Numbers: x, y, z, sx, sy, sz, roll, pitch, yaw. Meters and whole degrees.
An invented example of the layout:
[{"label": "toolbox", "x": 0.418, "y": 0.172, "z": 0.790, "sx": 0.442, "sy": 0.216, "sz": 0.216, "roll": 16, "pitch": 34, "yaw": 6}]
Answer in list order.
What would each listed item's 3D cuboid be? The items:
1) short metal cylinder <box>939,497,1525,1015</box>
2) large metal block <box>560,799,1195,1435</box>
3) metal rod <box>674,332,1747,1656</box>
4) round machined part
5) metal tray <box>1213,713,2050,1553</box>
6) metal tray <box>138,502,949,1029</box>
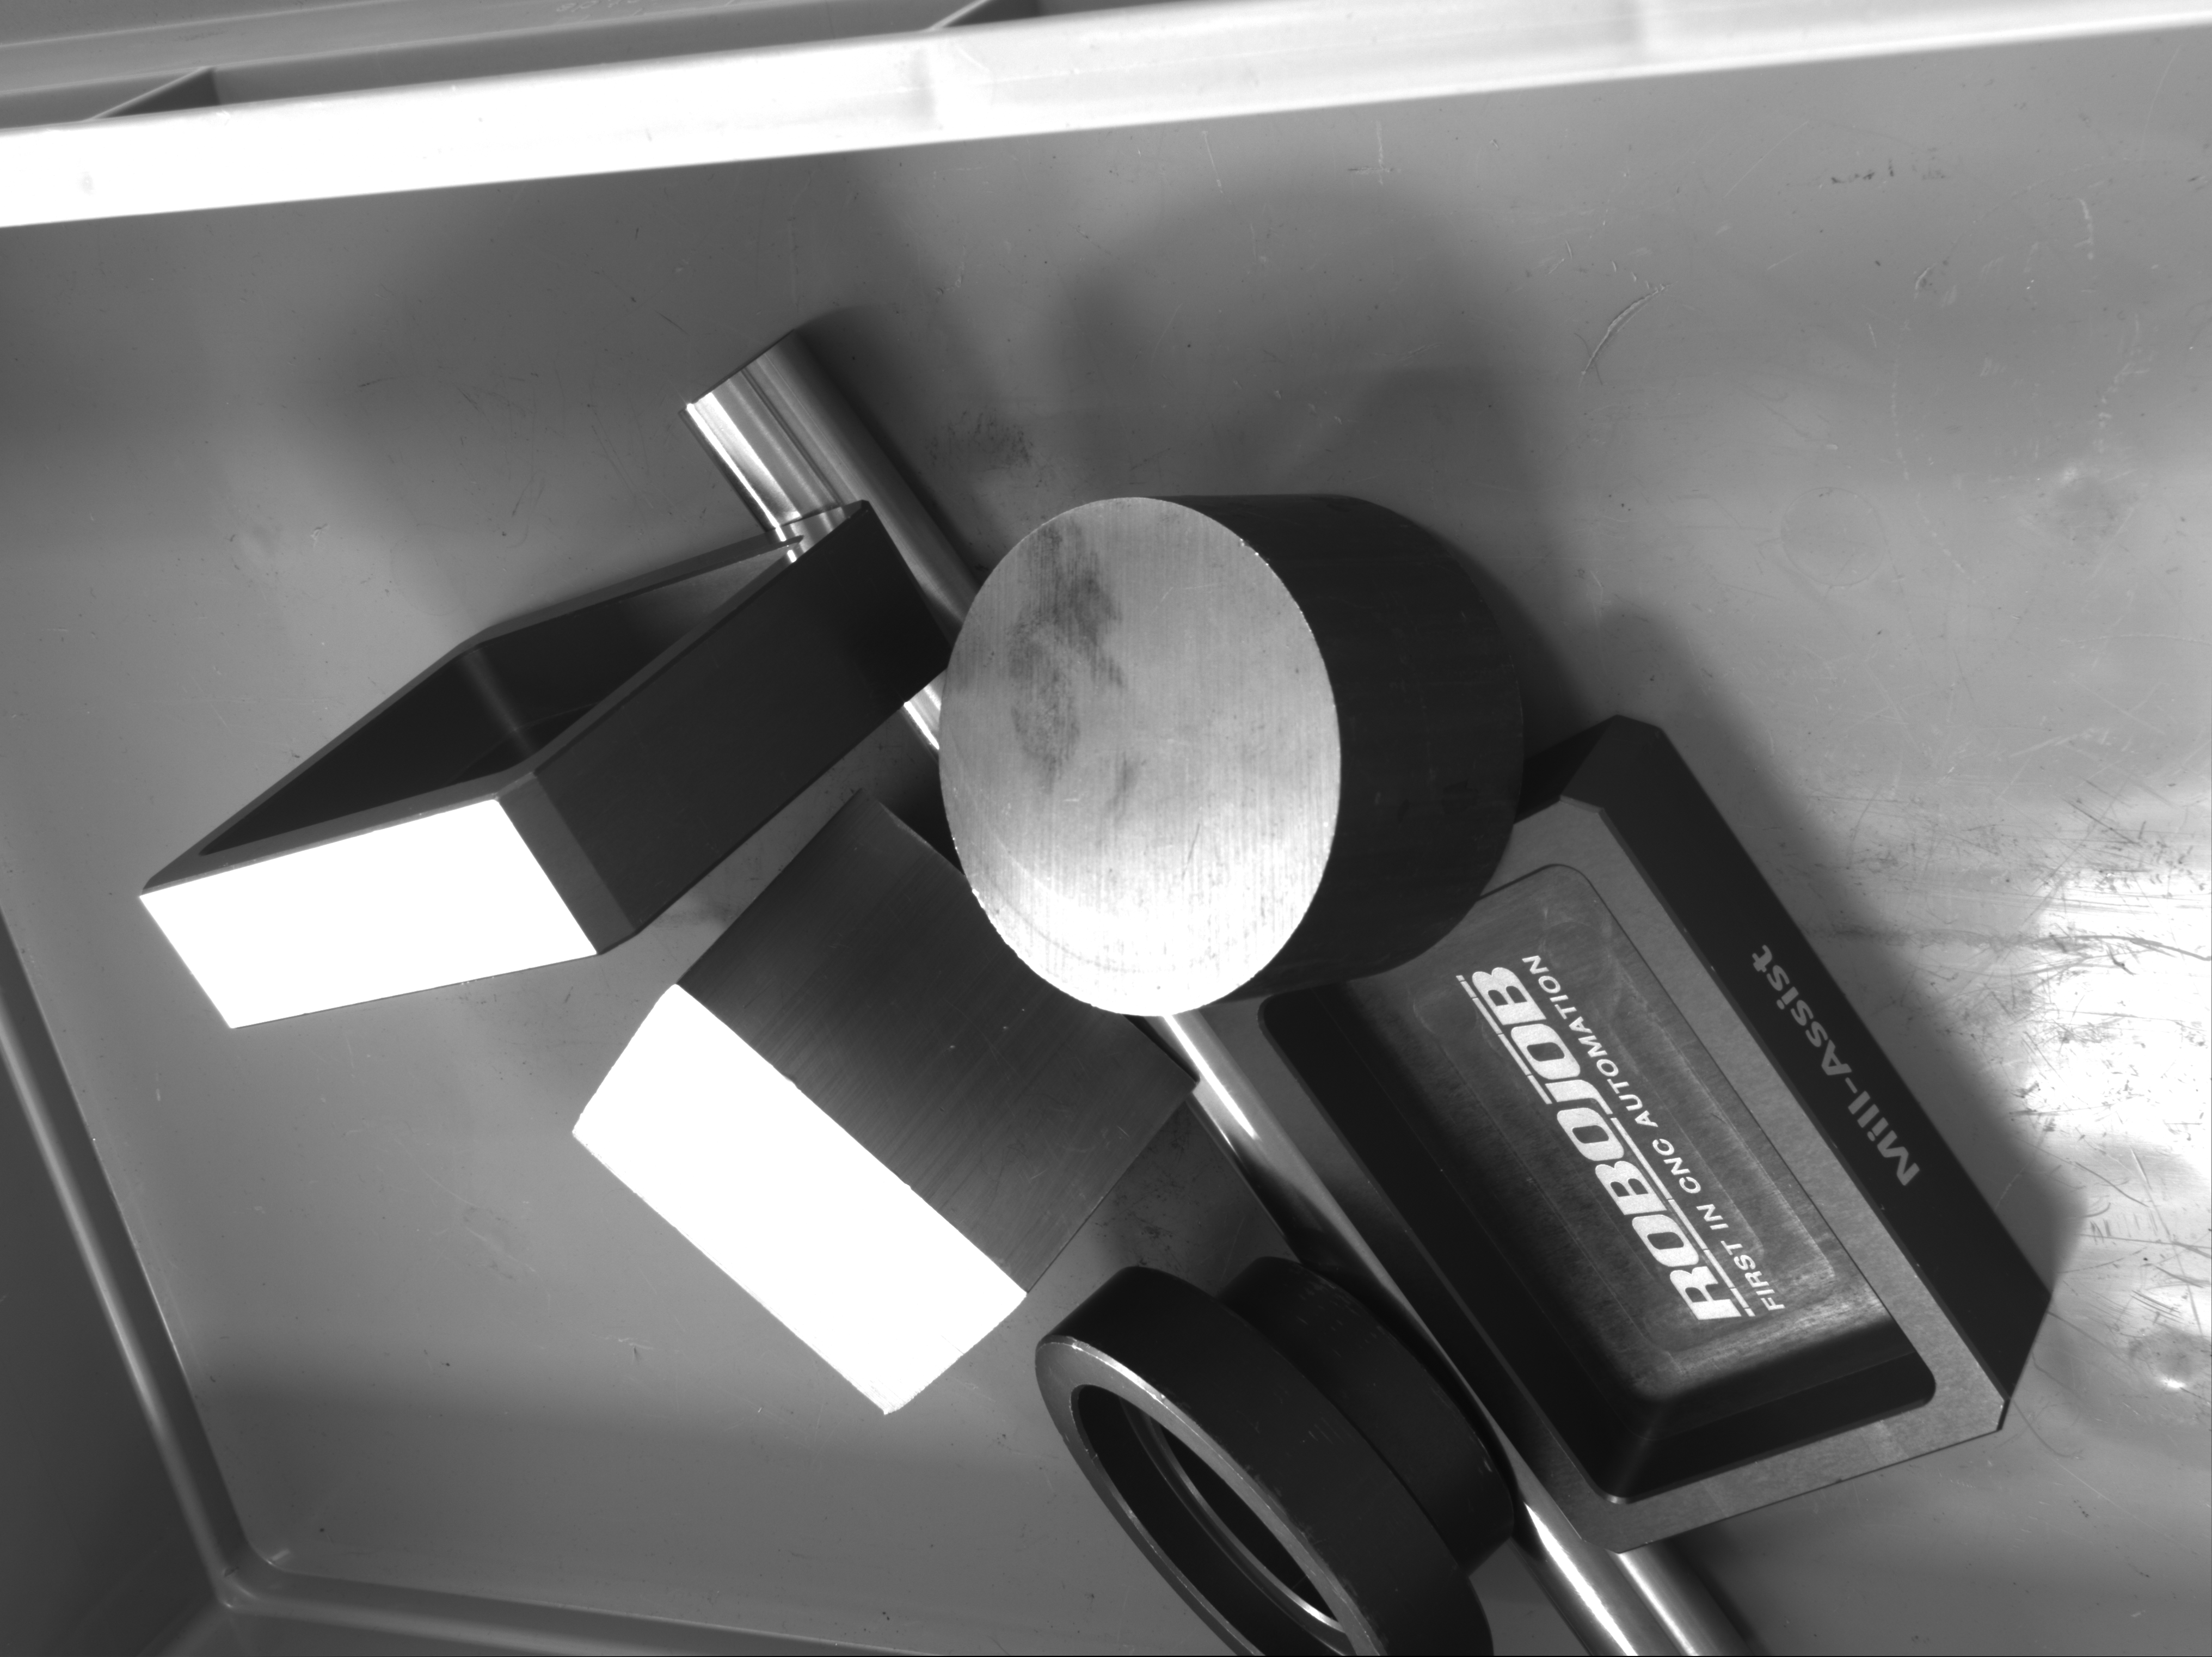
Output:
[{"label": "short metal cylinder", "x": 0.020, "y": -0.013, "z": 0.588, "sx": 0.080, "sy": 0.050, "sz": 0.080, "roll": 4, "pitch": 97, "yaw": 39}, {"label": "large metal block", "x": -0.043, "y": 0.053, "z": 0.657, "sx": 0.080, "sy": 0.050, "sz": 0.080, "roll": 41, "pitch": 147, "yaw": 0}, {"label": "metal rod", "x": 0.023, "y": 0.042, "z": 0.654, "sx": 0.025, "sy": 0.025, "sz": 0.300, "roll": -28, "pitch": 103, "yaw": 37}, {"label": "round machined part", "x": 0.035, "y": 0.117, "z": 0.664, "sx": 0.098, "sy": 0.042, "sz": 0.098, "roll": 43, "pitch": 159, "yaw": 21}, {"label": "metal tray", "x": 0.087, "y": 0.055, "z": 0.625, "sx": 0.090, "sy": 0.030, "sz": 0.130, "roll": -28, "pitch": 103, "yaw": 37}, {"label": "metal tray", "x": -0.097, "y": -0.009, "z": 0.628, "sx": 0.130, "sy": 0.090, "sz": 0.030, "roll": -12, "pitch": 115, "yaw": 49}]
